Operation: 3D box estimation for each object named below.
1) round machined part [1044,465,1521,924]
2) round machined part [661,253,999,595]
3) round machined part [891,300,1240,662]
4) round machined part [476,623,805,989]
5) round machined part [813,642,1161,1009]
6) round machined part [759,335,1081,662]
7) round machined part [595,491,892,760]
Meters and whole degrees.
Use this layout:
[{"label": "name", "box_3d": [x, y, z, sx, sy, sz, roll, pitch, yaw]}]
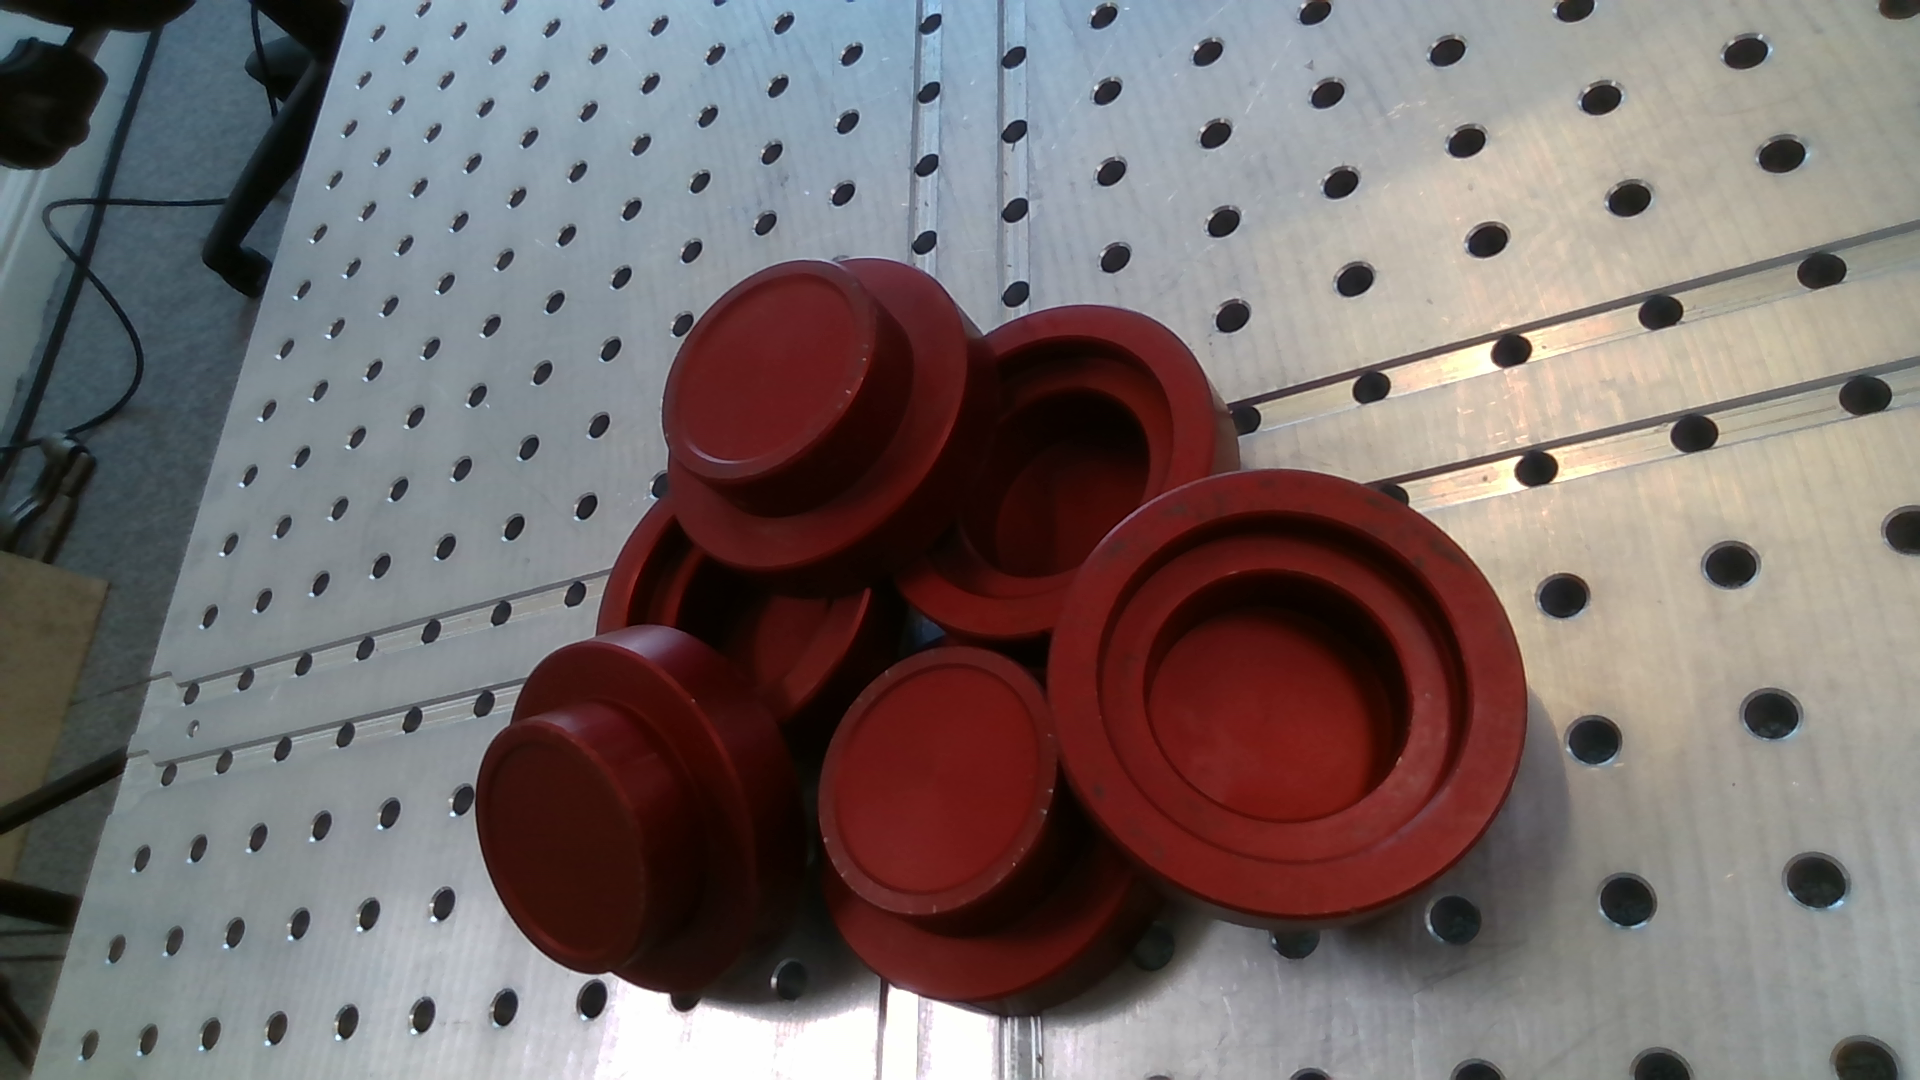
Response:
[{"label": "round machined part", "box_3d": [0.069, 0.036, 0.308, 0.098, 0.042, 0.098, -3, 68, 7]}, {"label": "round machined part", "box_3d": [-0.042, -0.038, 0.376, 0.098, 0.042, 0.098, -14, 59, 25]}, {"label": "round machined part", "box_3d": [0.029, -0.012, 0.374, 0.098, 0.042, 0.098, -14, 59, 25]}, {"label": "round machined part", "box_3d": [-0.092, 0.074, 0.370, 0.098, 0.042, 0.098, 9, 105, 35]}, {"label": "round machined part", "box_3d": [0.003, 0.065, 0.348, 0.098, 0.042, 0.098, -14, 59, 25]}, {"label": "round machined part", "box_3d": [-0.010, -0.009, 0.395, 0.098, 0.042, 0.098, -14, 59, 25]}, {"label": "round machined part", "box_3d": [-0.057, 0.022, 0.408, 0.098, 0.042, 0.098, -14, 59, 25]}]
